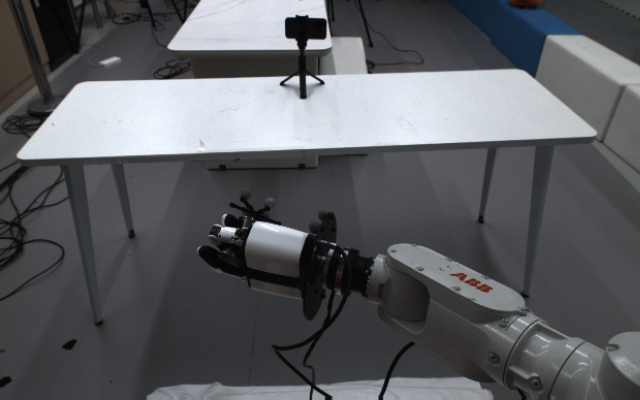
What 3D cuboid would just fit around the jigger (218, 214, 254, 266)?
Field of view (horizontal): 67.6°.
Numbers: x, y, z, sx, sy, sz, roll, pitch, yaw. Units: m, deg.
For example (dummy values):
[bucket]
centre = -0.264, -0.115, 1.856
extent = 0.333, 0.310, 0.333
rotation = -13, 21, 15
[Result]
[jigger]
centre = -0.120, 0.060, 0.736
extent = 0.043, 0.043, 0.071
rotation = 15, 58, 18
